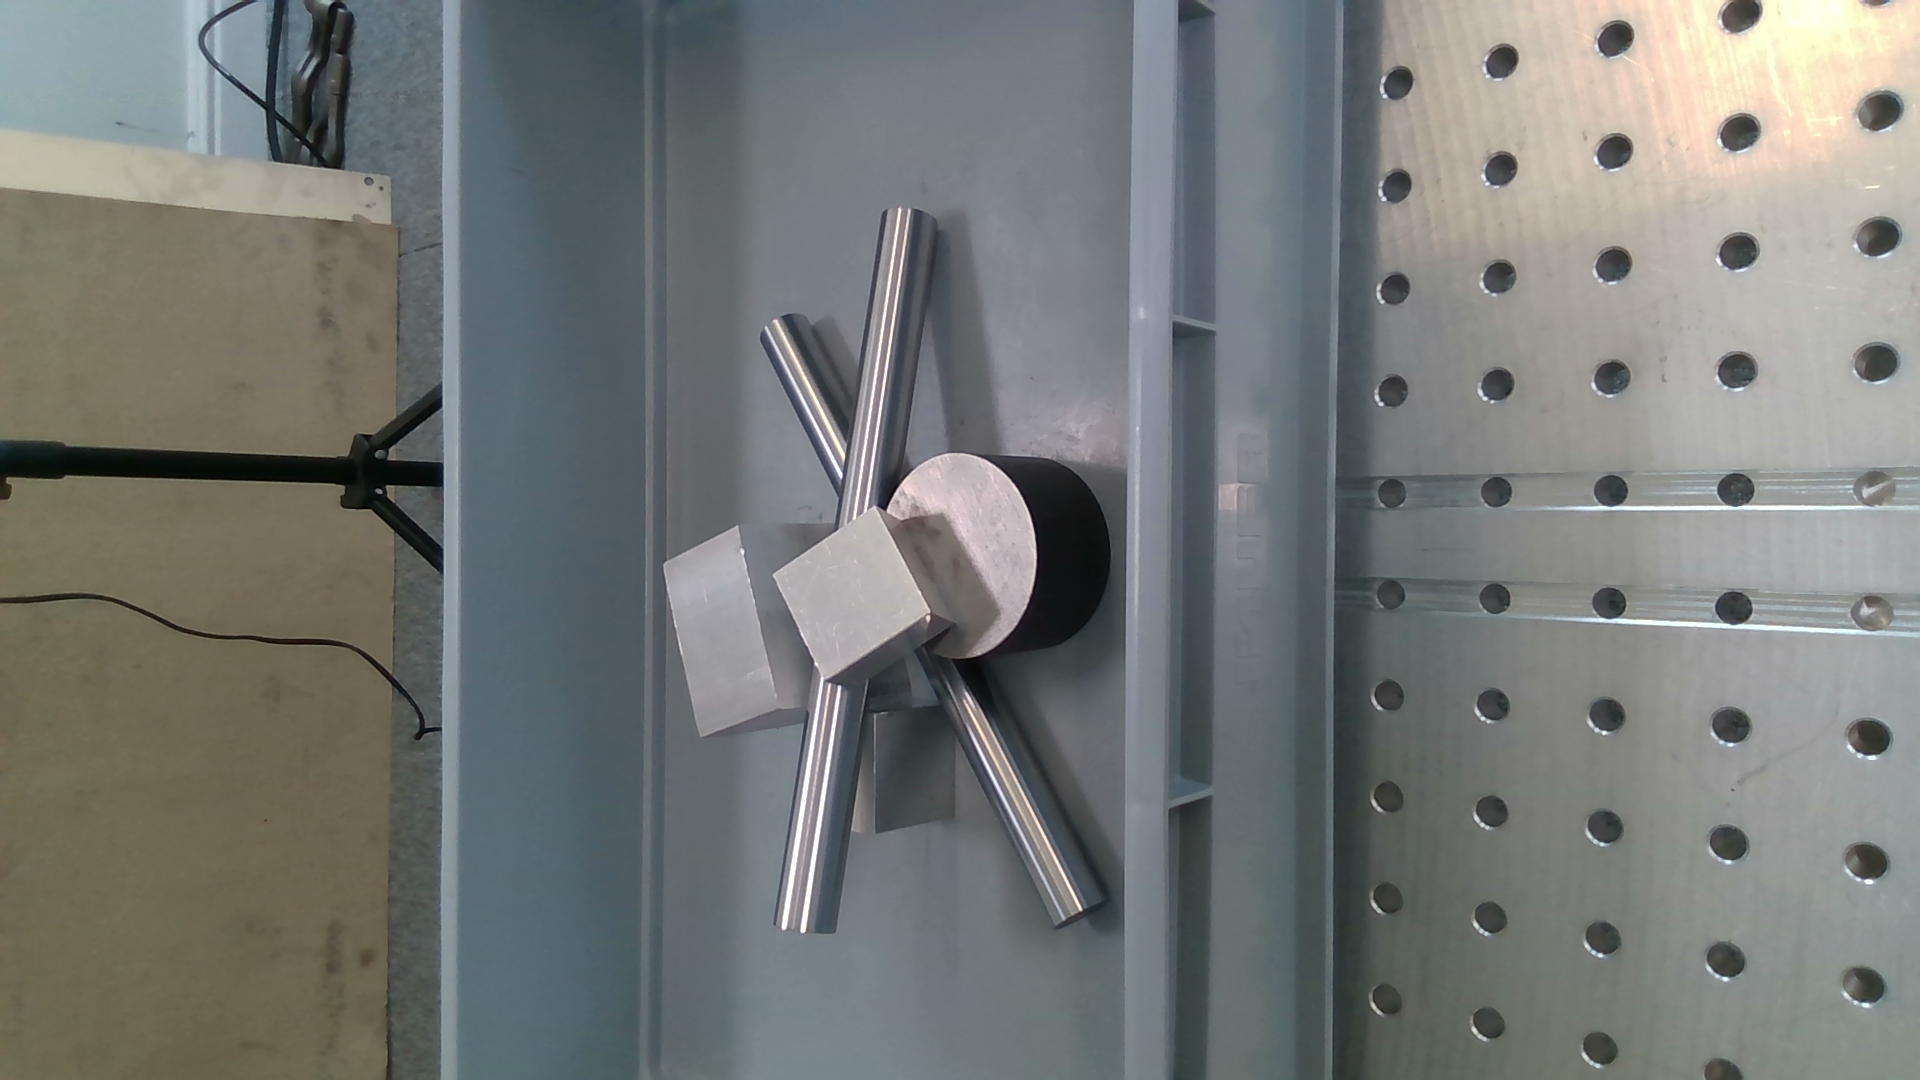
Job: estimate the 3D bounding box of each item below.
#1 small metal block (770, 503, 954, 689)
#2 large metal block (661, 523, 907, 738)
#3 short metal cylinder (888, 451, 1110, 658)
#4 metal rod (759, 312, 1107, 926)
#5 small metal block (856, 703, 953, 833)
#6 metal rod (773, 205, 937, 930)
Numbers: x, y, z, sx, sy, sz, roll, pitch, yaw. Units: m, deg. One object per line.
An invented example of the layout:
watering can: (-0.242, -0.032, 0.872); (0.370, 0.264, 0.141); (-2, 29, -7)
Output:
small metal block: (-0.038, 0.022, 0.537); (0.050, 0.025, 0.050); (-33, 68, 11)
large metal block: (-0.077, 0.039, 0.610); (0.050, 0.080, 0.080); (-23, 76, 38)
short metal cylinder: (0.013, 0.006, 0.554); (0.080, 0.050, 0.080); (0, 91, 39)
metal rod: (-0.018, 0.024, 0.597); (0.025, 0.025, 0.299); (-42, 65, 32)
small metal block: (-0.029, 0.095, 0.590); (0.025, 0.050, 0.050); (0, 89, 40)
metal rod: (-0.042, 0.006, 0.571); (0.025, 0.025, 0.300); (-1, 76, 40)
